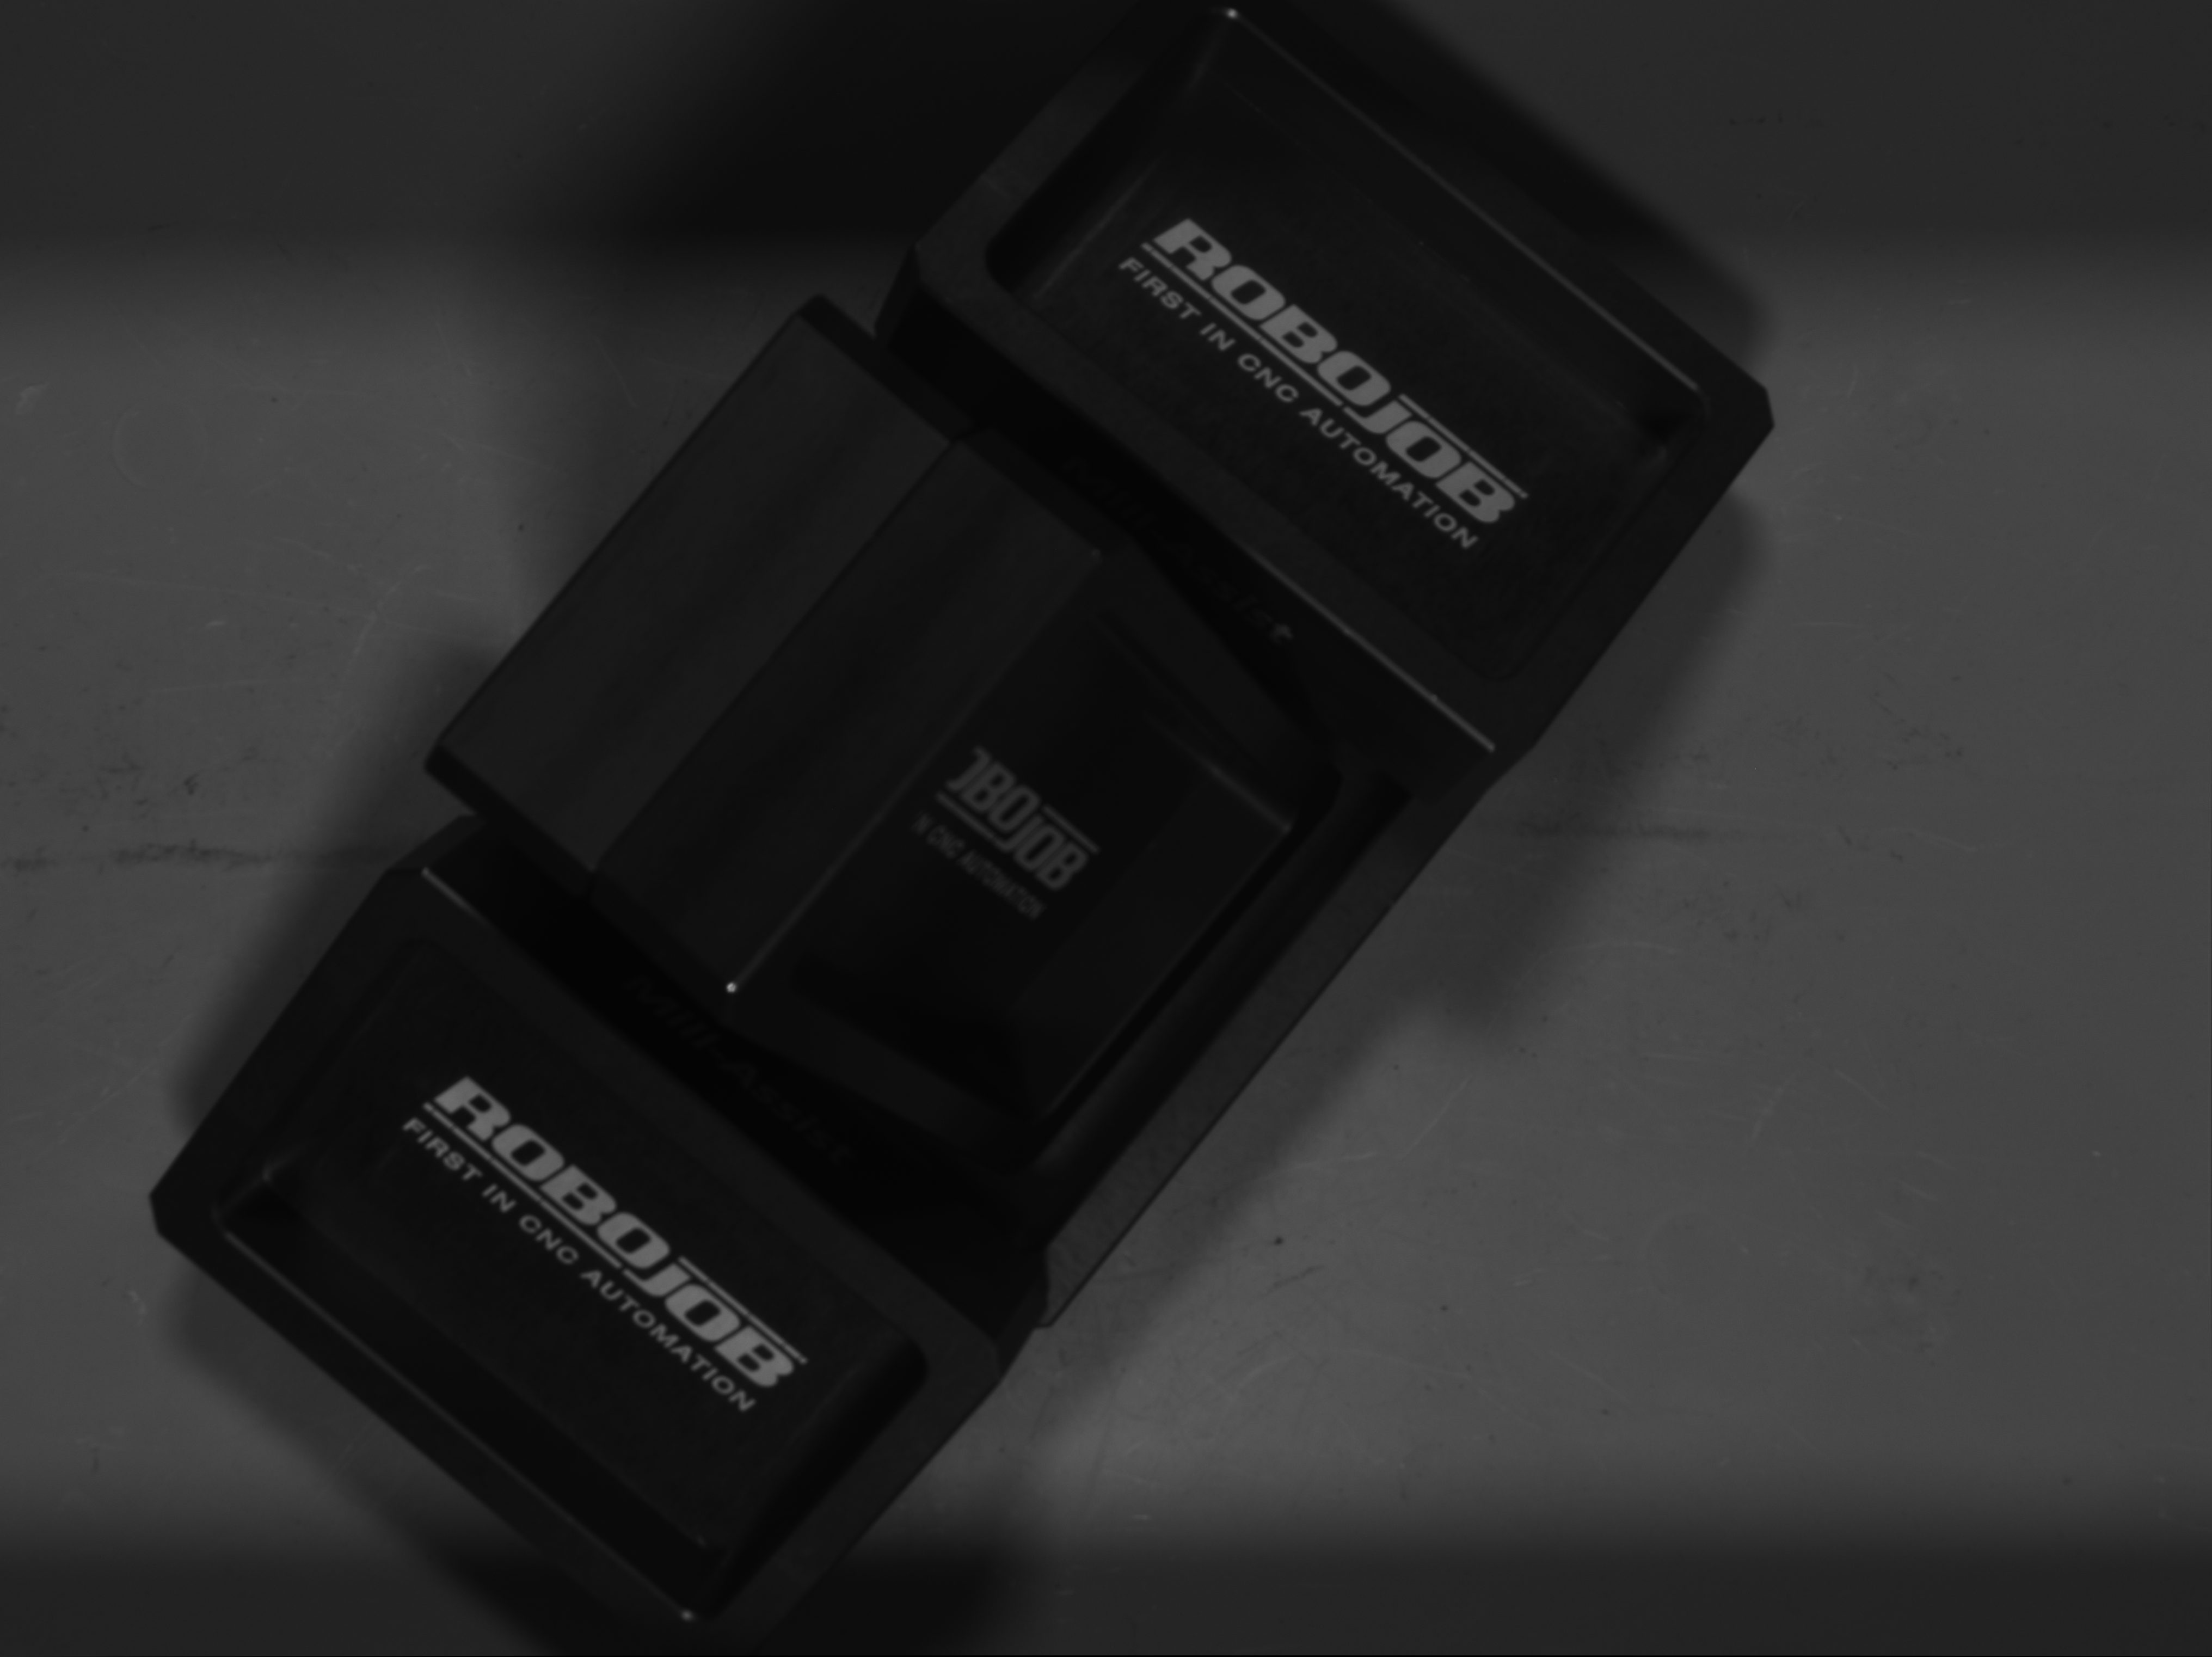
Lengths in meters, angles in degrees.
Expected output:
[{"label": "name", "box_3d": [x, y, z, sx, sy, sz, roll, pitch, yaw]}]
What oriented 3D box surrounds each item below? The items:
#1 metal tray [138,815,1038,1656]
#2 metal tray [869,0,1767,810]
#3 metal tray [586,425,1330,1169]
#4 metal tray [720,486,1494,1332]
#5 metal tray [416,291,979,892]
[{"label": "metal tray", "box_3d": [-0.088, 0.072, 0.623, 0.130, 0.030, 0.090, 40, 114, -1]}, {"label": "metal tray", "box_3d": [0.037, -0.077, 0.625, 0.130, 0.030, 0.090, 39, 64, 0]}, {"label": "metal tray", "box_3d": [-0.018, 0.000, 0.579, 0.030, 0.130, 0.090, 40, 89, 23]}, {"label": "metal tray", "box_3d": [-0.006, 0.011, 0.641, 0.090, 0.030, 0.130, 39, 90, 0]}, {"label": "metal tray", "box_3d": [-0.060, -0.034, 0.590, 0.030, 0.130, 0.090, 40, 90, 1]}]
